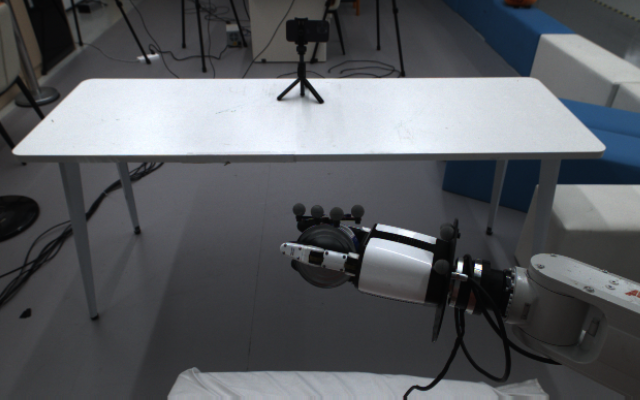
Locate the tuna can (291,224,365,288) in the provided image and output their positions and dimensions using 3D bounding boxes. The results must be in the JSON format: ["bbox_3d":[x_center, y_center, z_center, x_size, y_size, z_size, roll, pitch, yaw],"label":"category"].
[{"bbox_3d":[0.013,0.076,0.640,0.085,0.085,0.034,12,8,14],"label":"tuna can"}]
